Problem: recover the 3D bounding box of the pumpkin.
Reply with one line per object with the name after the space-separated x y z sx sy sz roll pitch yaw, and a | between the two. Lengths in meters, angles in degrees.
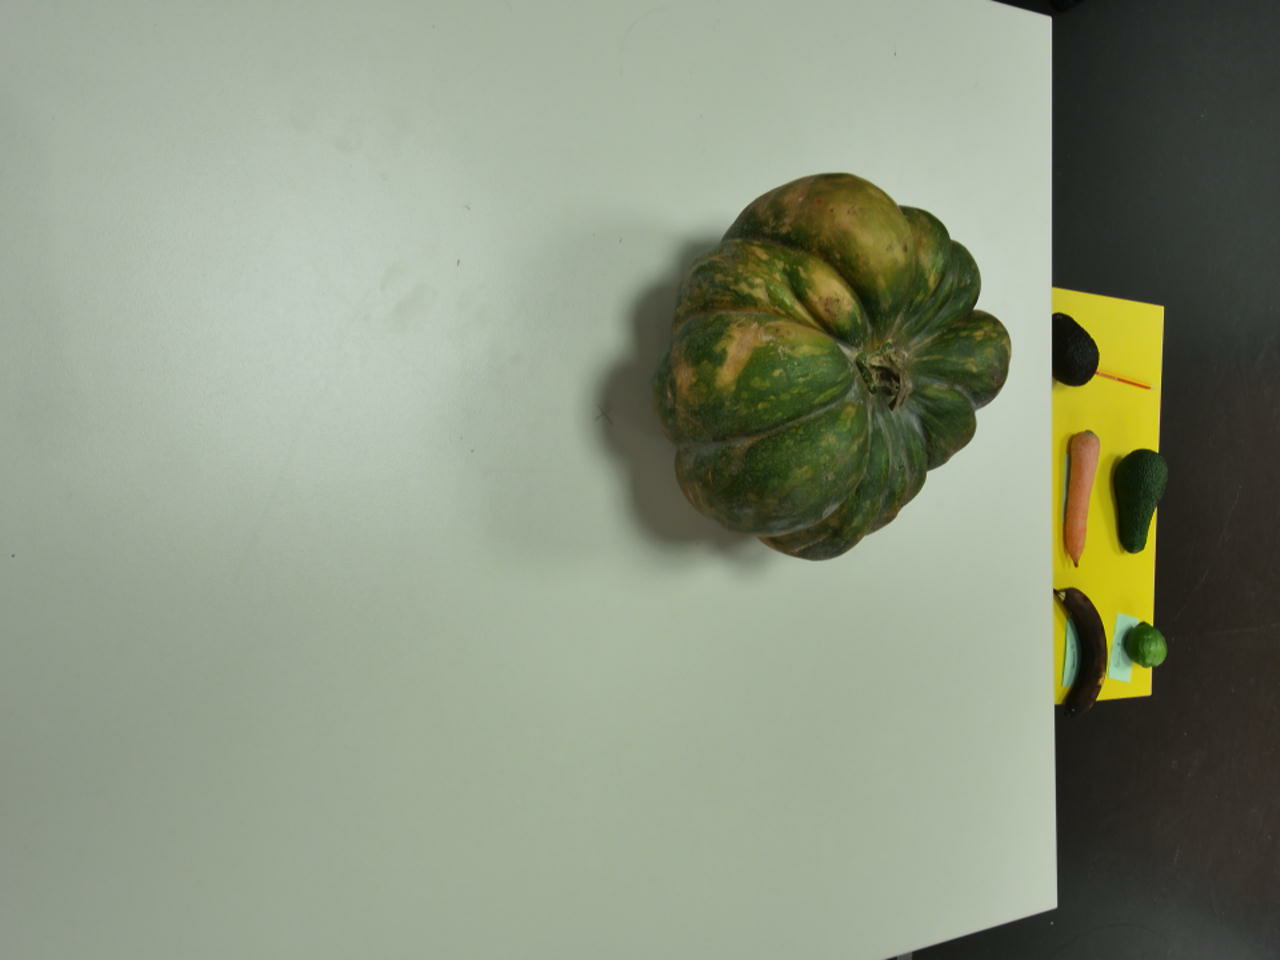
0.130 -0.075 0.685 0.237 0.173 0.270 40 73 -23 | pumpkin
